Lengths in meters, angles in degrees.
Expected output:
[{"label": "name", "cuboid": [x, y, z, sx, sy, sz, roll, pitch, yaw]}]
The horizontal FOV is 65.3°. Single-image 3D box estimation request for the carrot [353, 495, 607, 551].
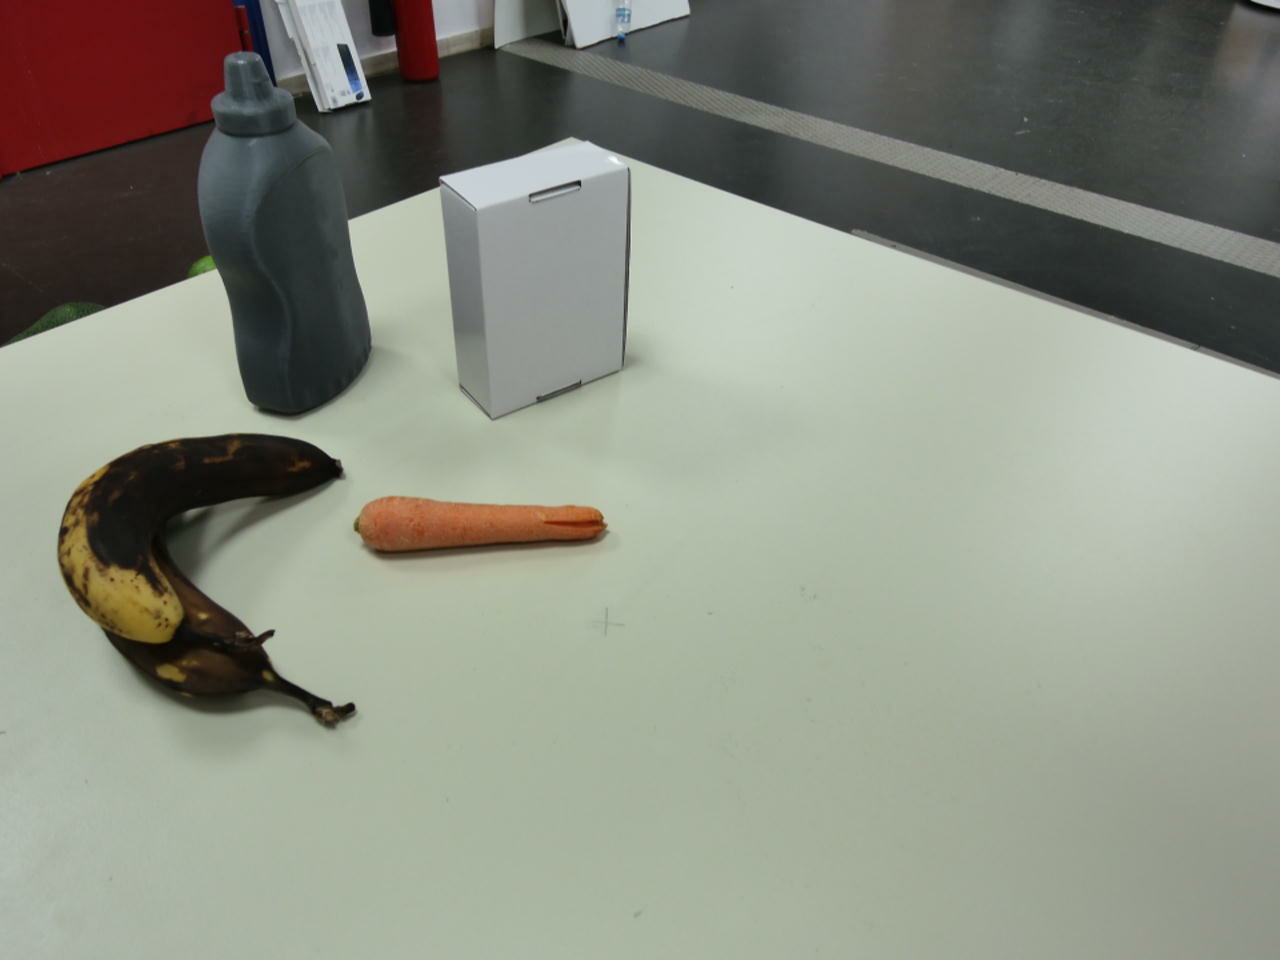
[{"label": "carrot", "cuboid": [-0.086, 0.022, 0.544, 0.136, 0.032, 0.030, -3, 37, -4]}]
